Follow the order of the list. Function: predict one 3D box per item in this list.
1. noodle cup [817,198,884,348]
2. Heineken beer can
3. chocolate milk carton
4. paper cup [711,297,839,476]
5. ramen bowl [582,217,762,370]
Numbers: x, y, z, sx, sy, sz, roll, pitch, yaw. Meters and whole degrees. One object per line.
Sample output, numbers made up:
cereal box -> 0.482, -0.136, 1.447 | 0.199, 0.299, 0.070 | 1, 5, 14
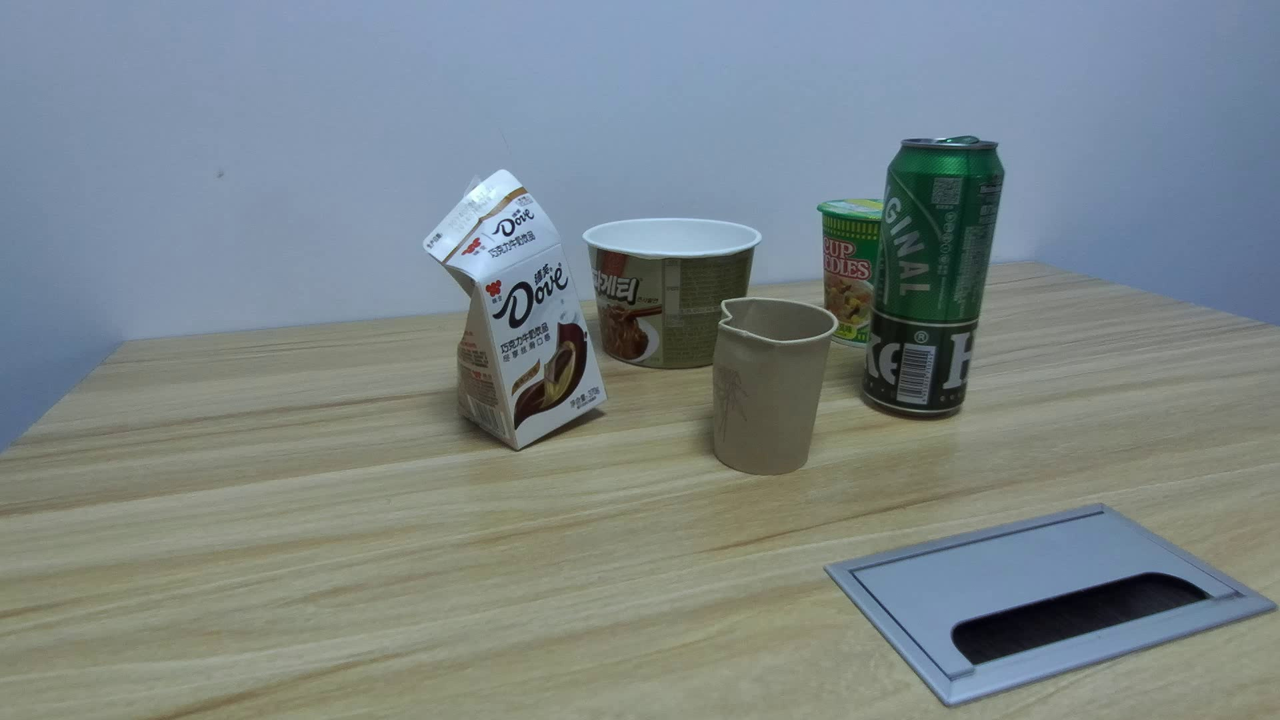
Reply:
noodle cup -> 0.197, -0.073, 0.600 | 0.097, 0.110, 0.097 | 0, 19, 0
Heineken beer can -> 0.184, -0.049, 0.449 | 0.067, 0.169, 0.067 | 1, 19, 0
chocolate milk carton -> -0.079, -0.029, 0.431 | 0.076, 0.156, 0.089 | 15, 38, 43
paper cup -> 0.071, 0.014, 0.395 | 0.073, 0.081, 0.069 | 18, 26, 36
ramen bowl -> 0.024, -0.056, 0.566 | 0.140, 0.095, 0.140 | 1, 21, 0
